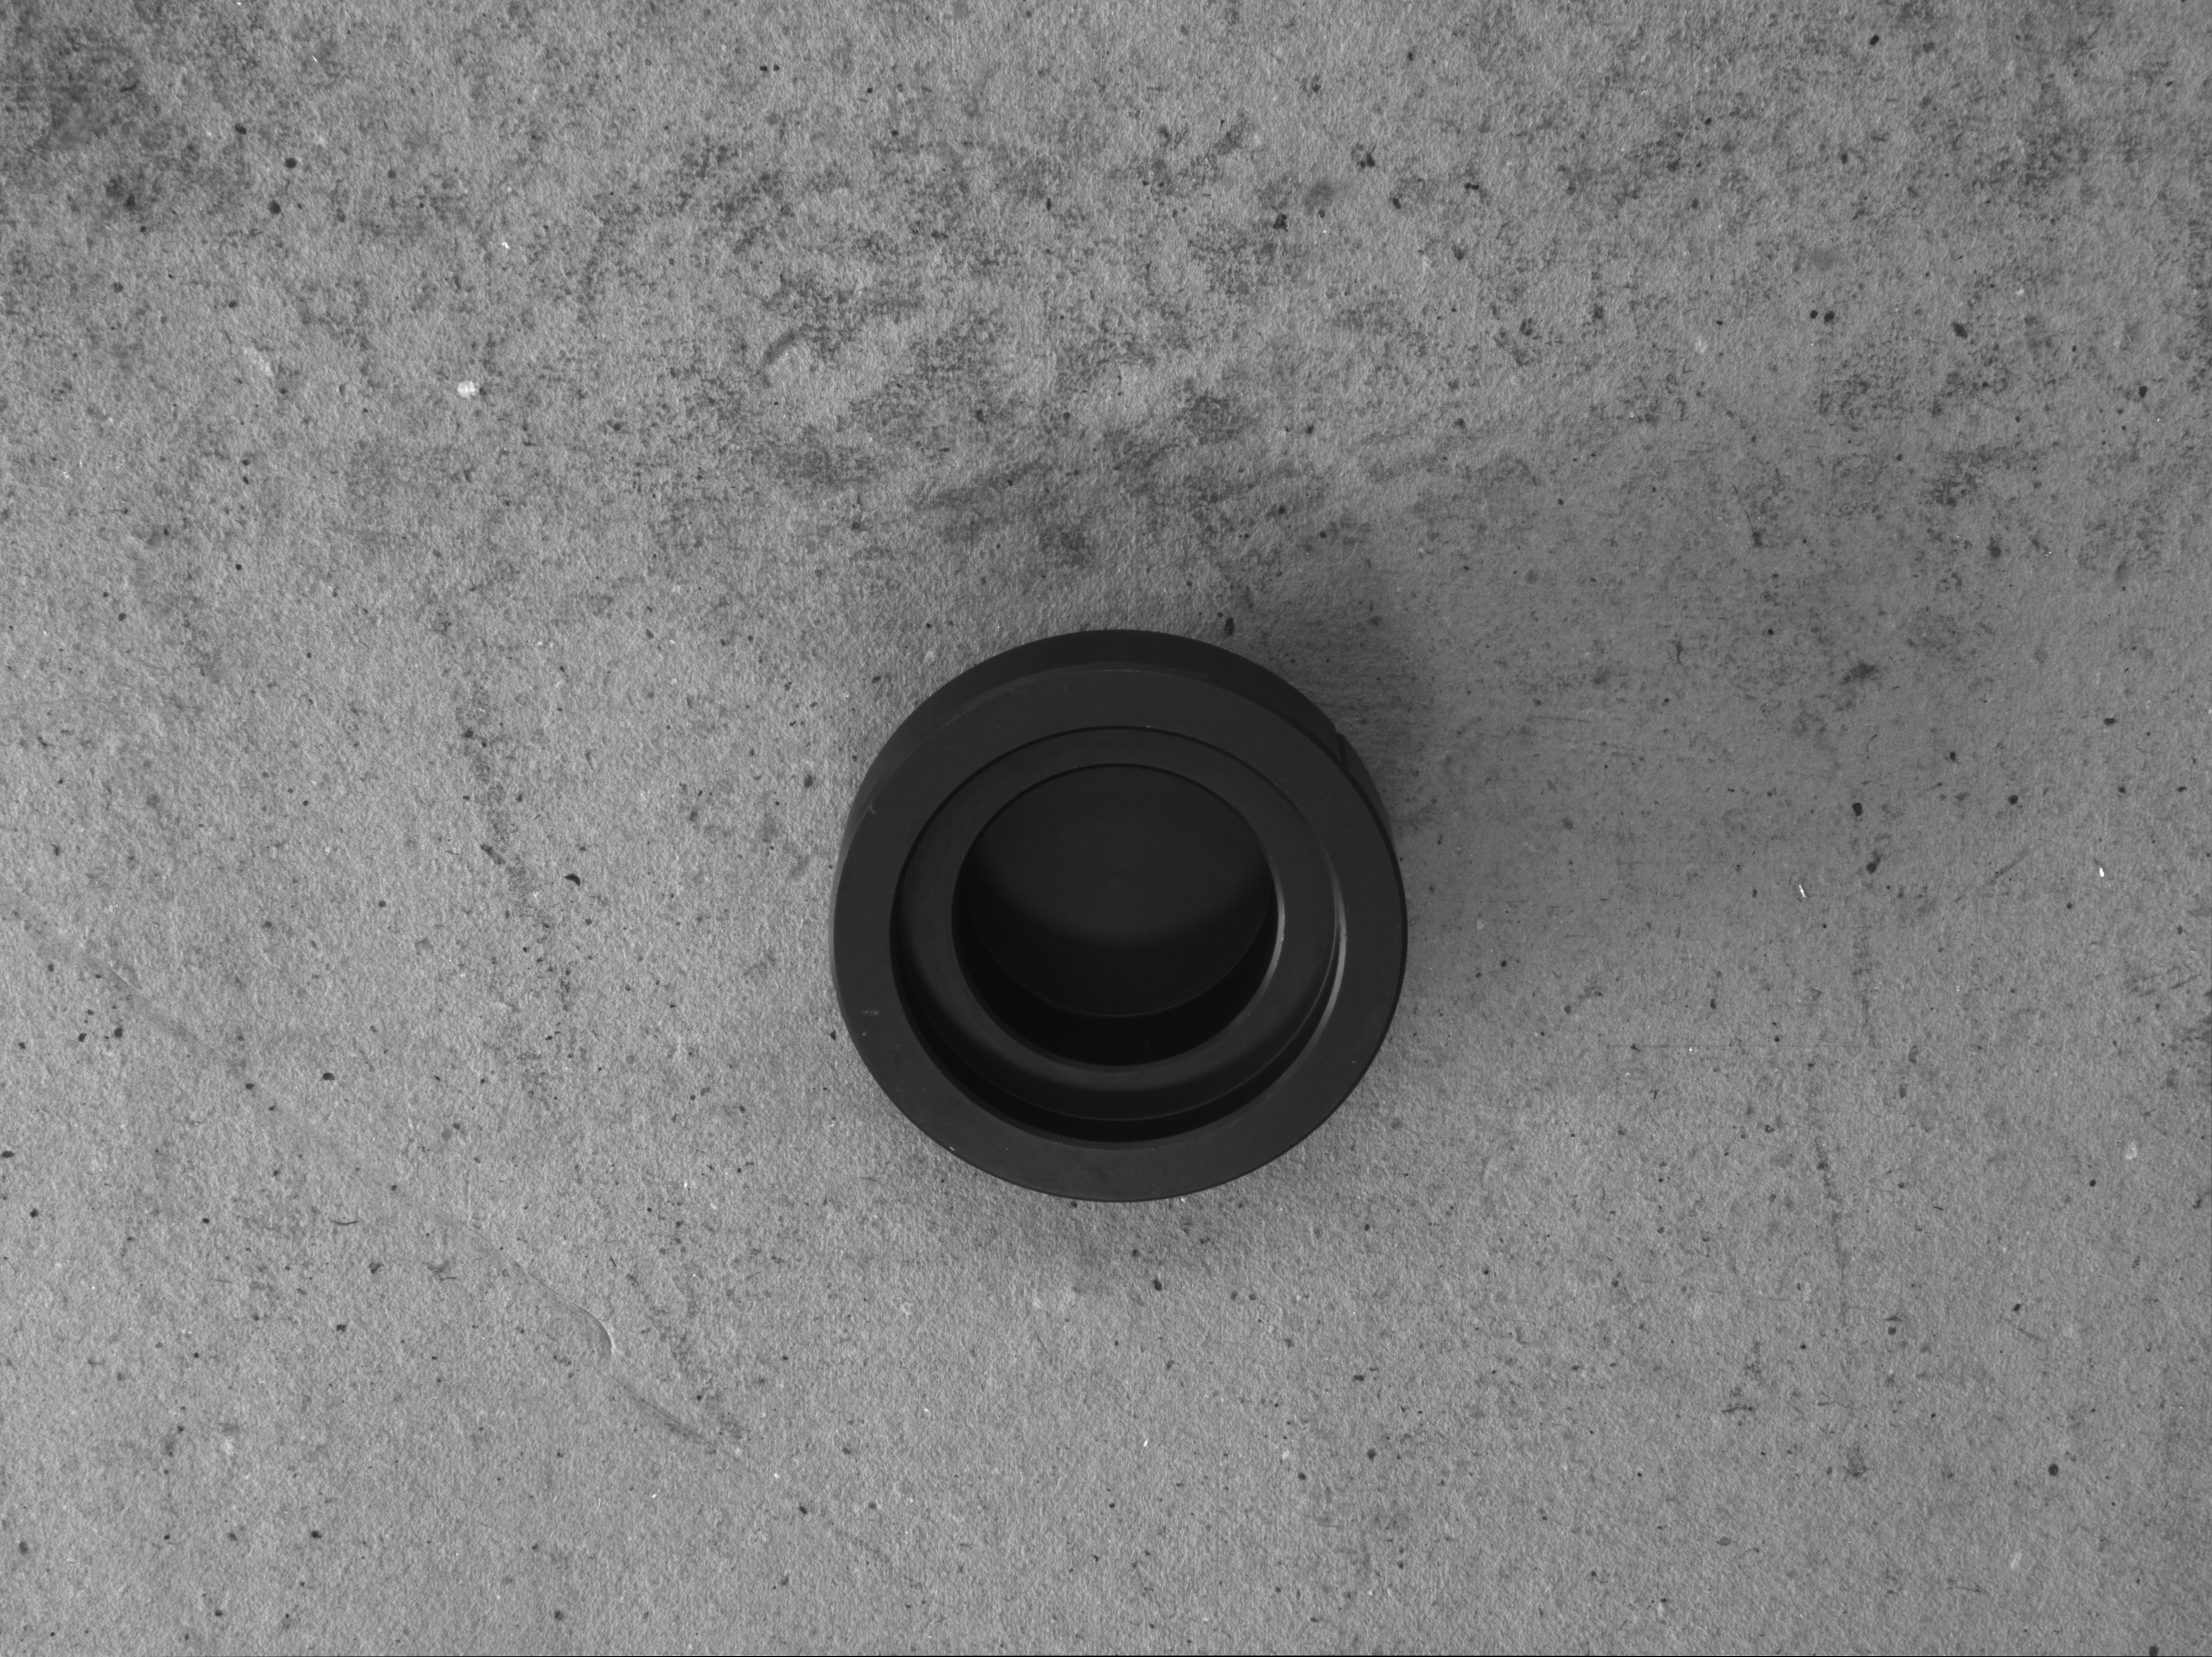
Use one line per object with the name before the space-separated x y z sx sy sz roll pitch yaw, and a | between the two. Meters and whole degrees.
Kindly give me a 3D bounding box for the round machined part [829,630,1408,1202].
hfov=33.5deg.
round machined part | 0.002 0.012 0.640 0.098 0.042 0.098 0 110 0
